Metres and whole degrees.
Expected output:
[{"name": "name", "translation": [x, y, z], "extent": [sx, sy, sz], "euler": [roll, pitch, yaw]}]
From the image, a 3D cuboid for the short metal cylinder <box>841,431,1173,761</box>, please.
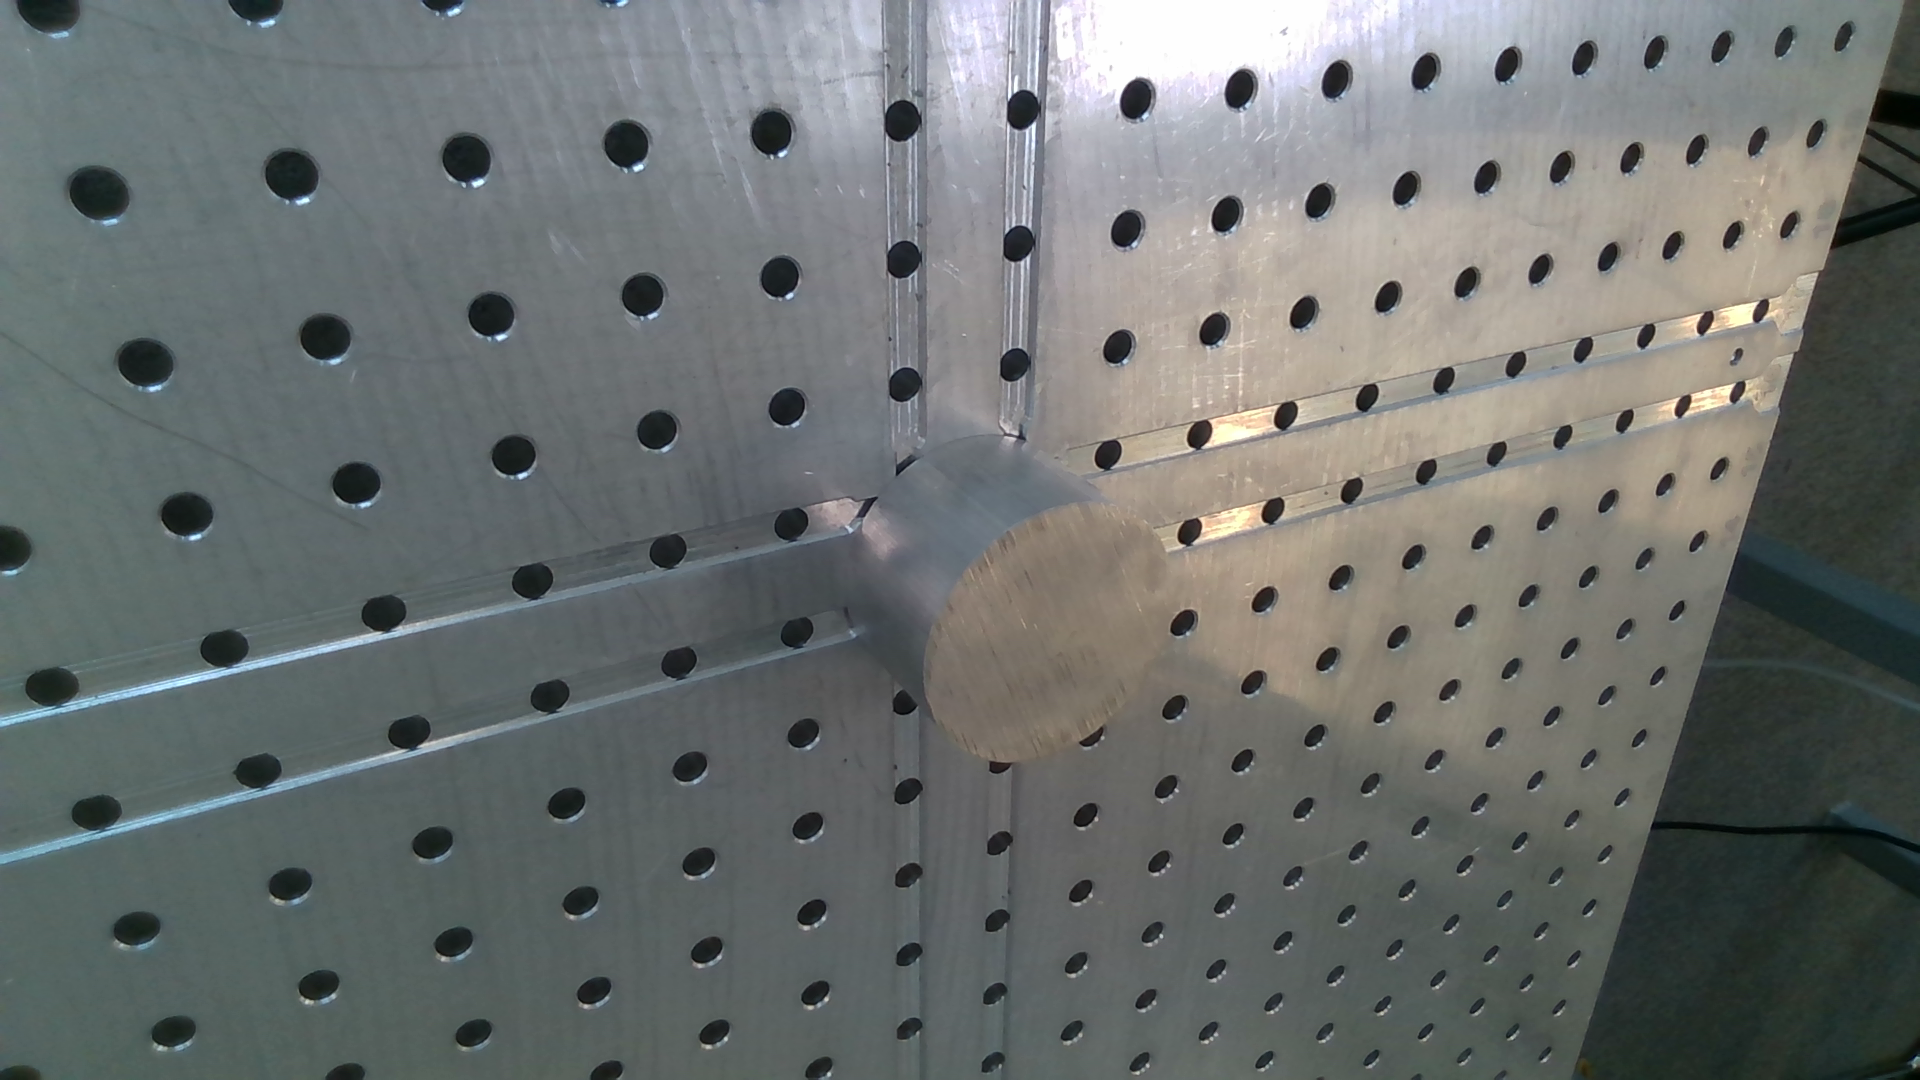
[{"name": "short metal cylinder", "translation": [0.013, 0.015, 0.392], "extent": [0.080, 0.050, 0.080], "euler": [-14, 122, -25]}]
